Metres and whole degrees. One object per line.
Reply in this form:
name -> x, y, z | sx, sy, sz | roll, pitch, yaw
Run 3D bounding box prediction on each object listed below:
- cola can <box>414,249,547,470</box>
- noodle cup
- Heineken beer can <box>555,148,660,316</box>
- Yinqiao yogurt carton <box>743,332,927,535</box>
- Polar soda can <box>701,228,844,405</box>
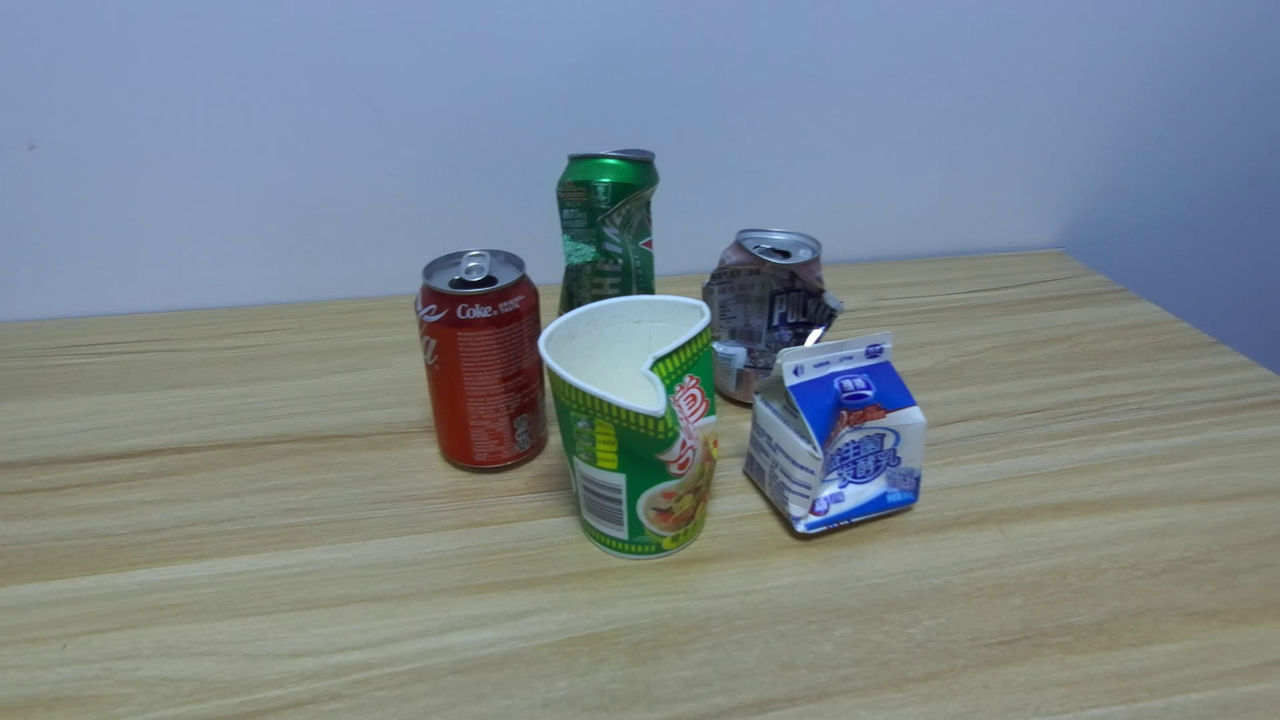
cola can -> -0.090, 0.000, 0.408 | 0.068, 0.120, 0.068 | 0, 31, 0
noodle cup -> 0.000, 0.035, 0.357 | 0.086, 0.109, 0.094 | 24, 40, 32
Heineken beer can -> -0.020, -0.055, 0.460 | 0.067, 0.159, 0.078 | -2, 24, -12
Yinqiao yogurt carton -> 0.103, 0.031, 0.382 | 0.077, 0.094, 0.071 | -11, 27, -18
Polar soda can -> 0.086, -0.027, 0.460 | 0.074, 0.114, 0.070 | -26, 45, -32
